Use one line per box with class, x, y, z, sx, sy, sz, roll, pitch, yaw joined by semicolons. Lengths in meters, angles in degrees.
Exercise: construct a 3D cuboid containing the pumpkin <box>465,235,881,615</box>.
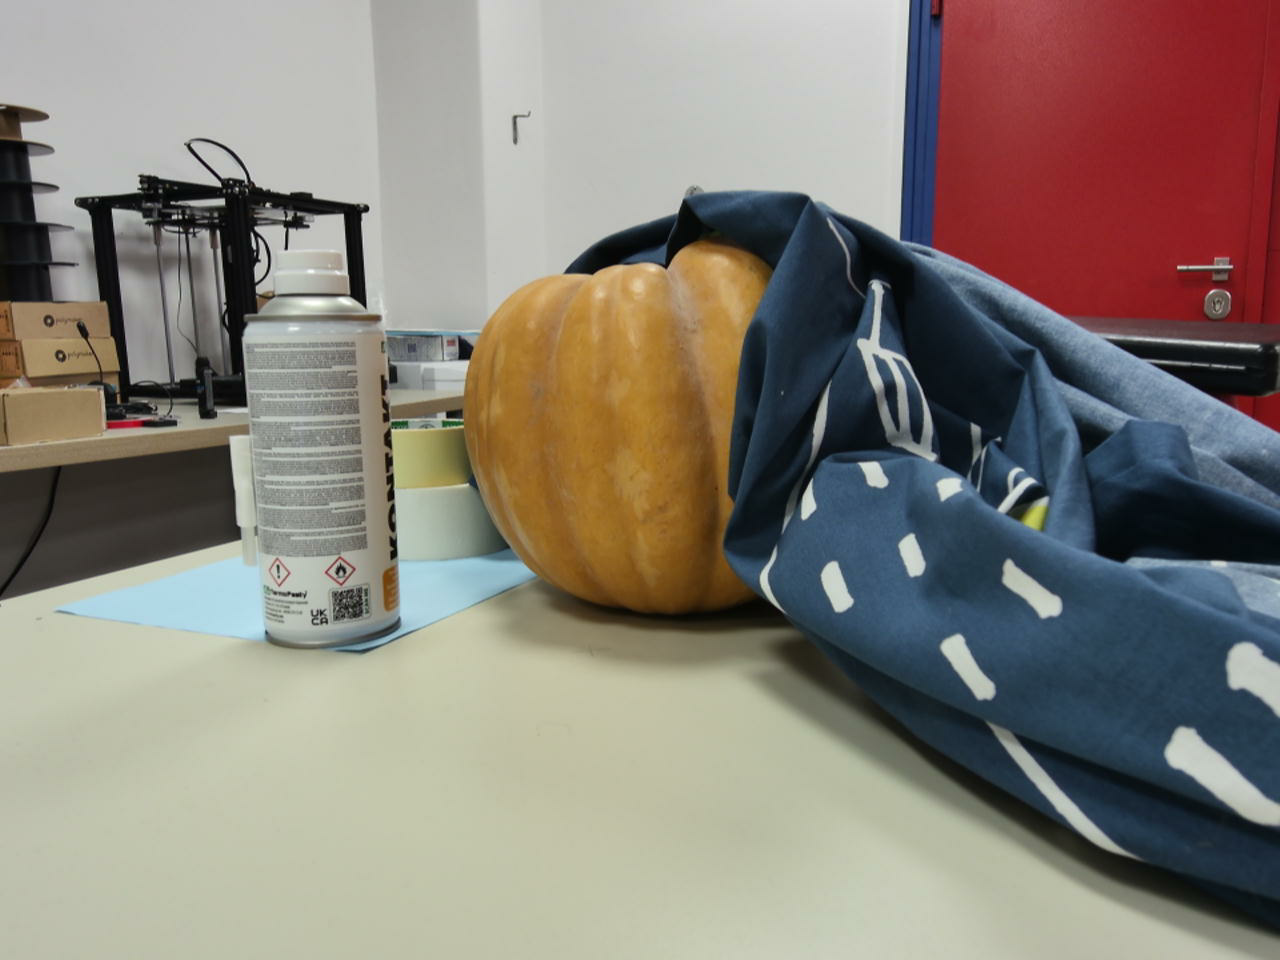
pumpkin;0.020;-0.029;0.541;0.230;0.194;0.230;1;6;0
